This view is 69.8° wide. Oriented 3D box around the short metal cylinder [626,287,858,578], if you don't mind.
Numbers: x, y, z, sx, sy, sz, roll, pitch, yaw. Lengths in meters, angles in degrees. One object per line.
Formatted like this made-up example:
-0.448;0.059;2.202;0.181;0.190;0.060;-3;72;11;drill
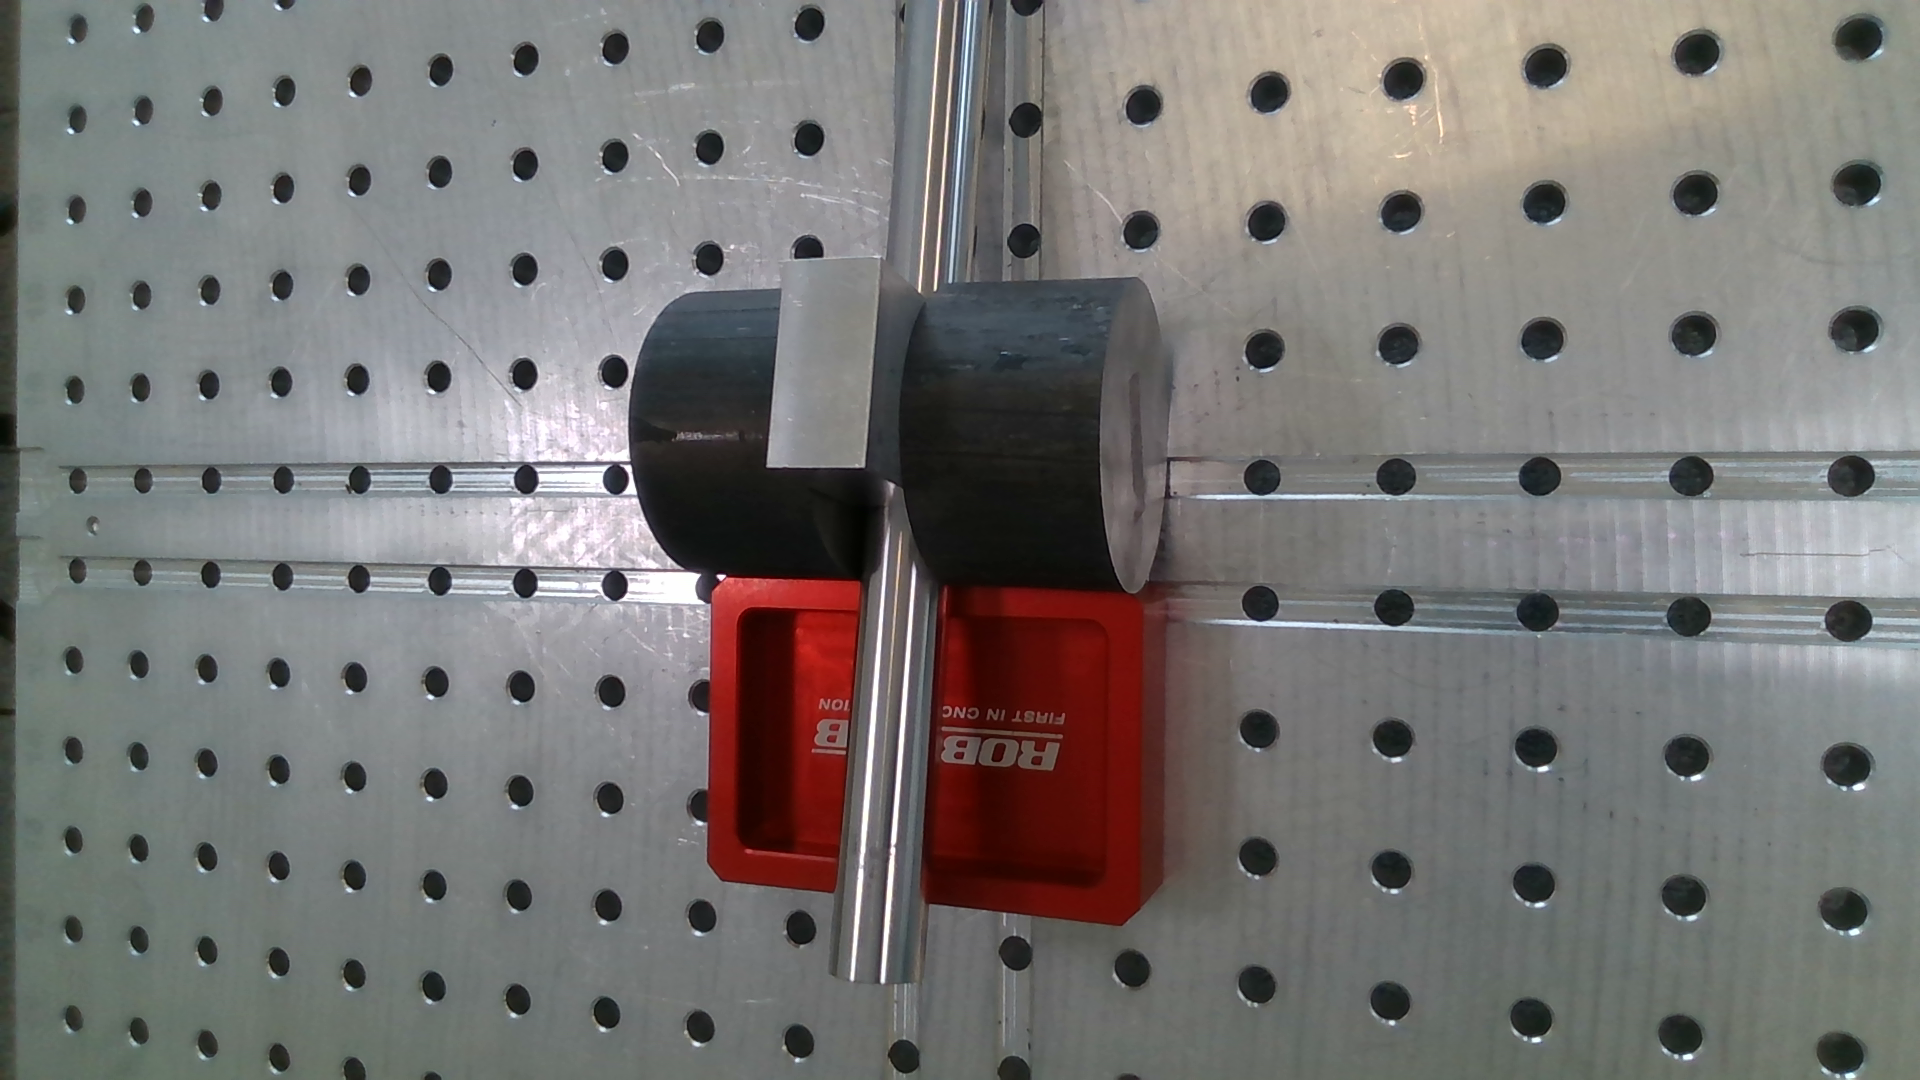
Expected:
-0.049;-0.030;0.385;0.050;0.080;0.080;2;91;20;short metal cylinder

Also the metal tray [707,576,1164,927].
-0.008;0.056;0.397;0.130;0.030;0.090;1;91;20;metal tray

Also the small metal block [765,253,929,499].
-0.023;-0.038;0.341;0.025;0.050;0.050;1;82;20;small metal block

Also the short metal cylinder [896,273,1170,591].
0.022;-0.027;0.357;0.050;0.080;0.080;1;90;20;short metal cylinder

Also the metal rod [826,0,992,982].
-0.012;-0.036;0.376;0.025;0.025;0.300;1;82;20;metal rod
